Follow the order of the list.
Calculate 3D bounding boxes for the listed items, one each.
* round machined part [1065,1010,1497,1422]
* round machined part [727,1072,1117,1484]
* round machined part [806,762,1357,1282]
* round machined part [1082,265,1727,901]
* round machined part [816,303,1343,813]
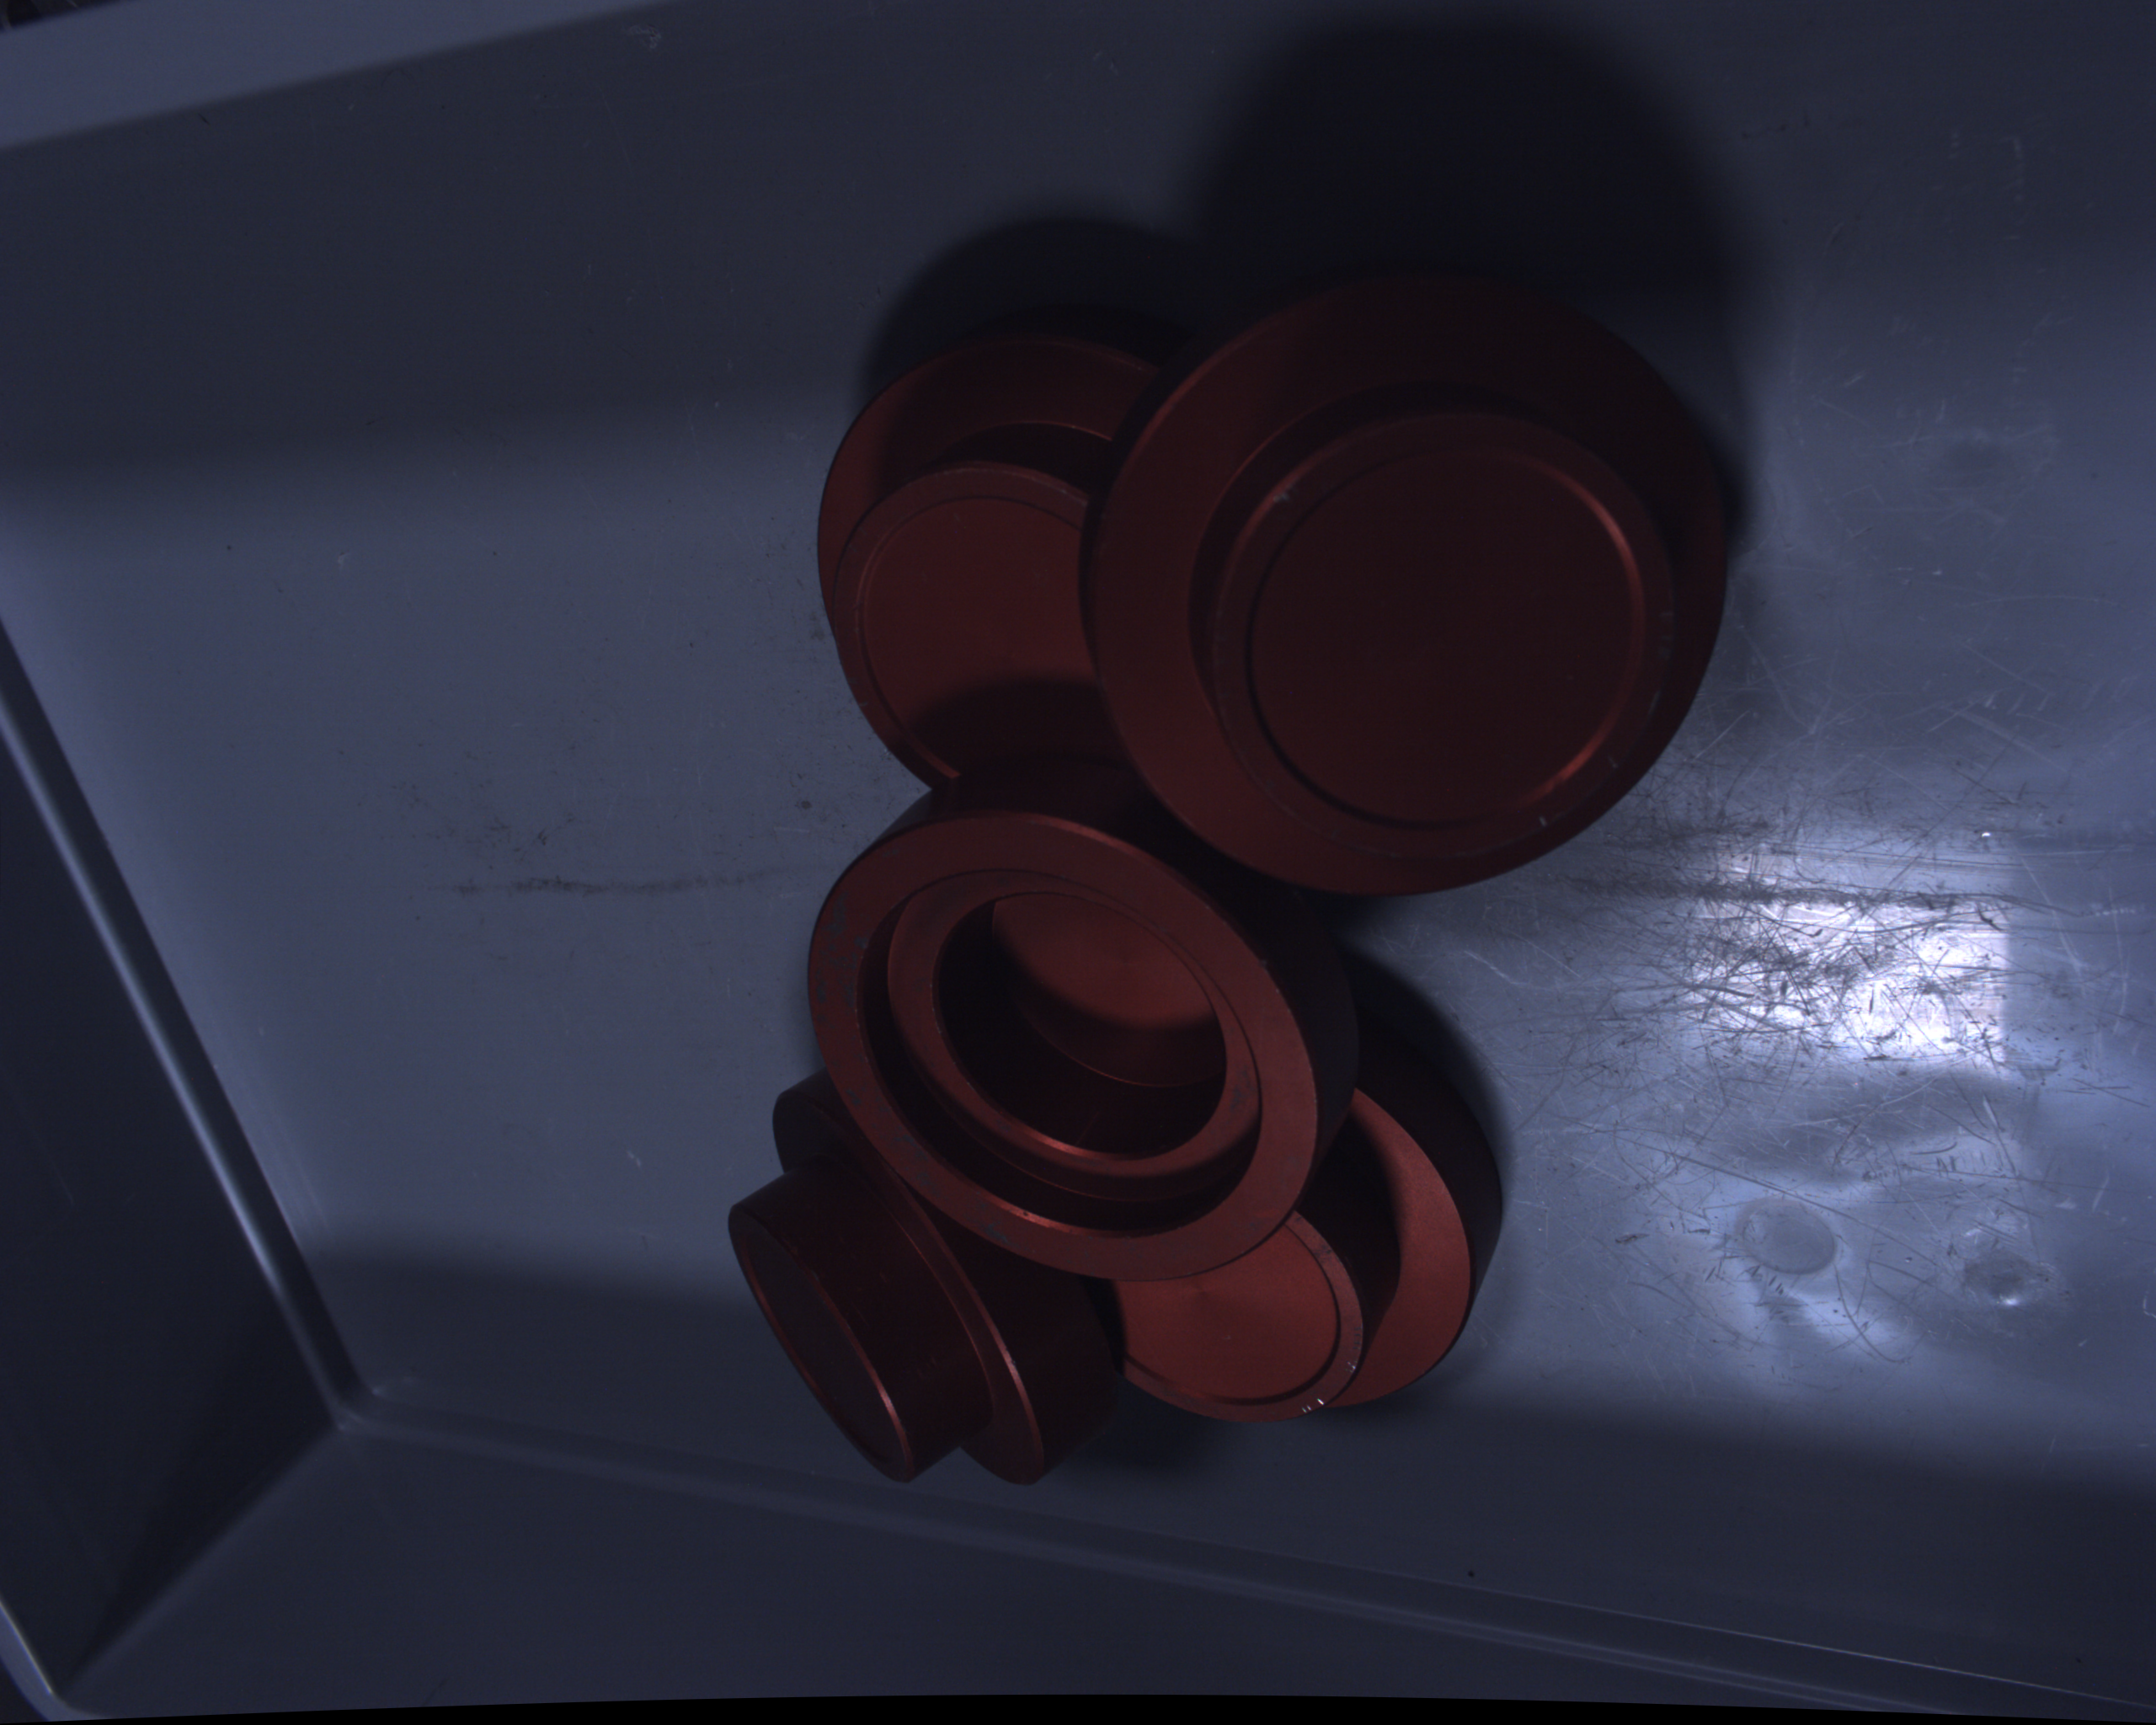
[{"bbox_3d":[0.032,0.074,0.423,0.098,0.042,0.097,13,124,20],"label":"round machined part"},{"bbox_3d":[-0.038,0.091,0.443,0.098,0.042,0.097,43,151,32],"label":"round machined part"},{"bbox_3d":[0.004,0.025,0.380,0.098,0.042,0.097,13,124,20],"label":"round machined part"},{"bbox_3d":[0.051,-0.039,0.317,0.099,0.042,0.097,-2,112,-5],"label":"round machined part"},{"bbox_3d":[-0.004,-0.045,0.368,0.098,0.042,0.097,13,124,20],"label":"round machined part"}]
